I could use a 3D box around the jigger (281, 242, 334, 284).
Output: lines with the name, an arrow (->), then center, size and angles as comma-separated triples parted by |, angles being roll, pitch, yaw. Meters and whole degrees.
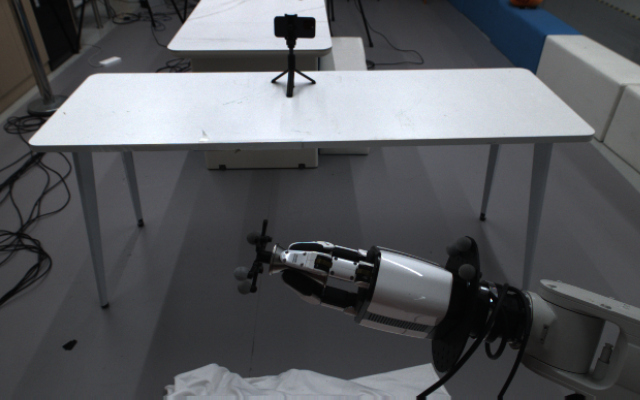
jigger -> -0.015, 0.072, 0.575 | 0.071, 0.043, 0.043 | 11, 35, 3
